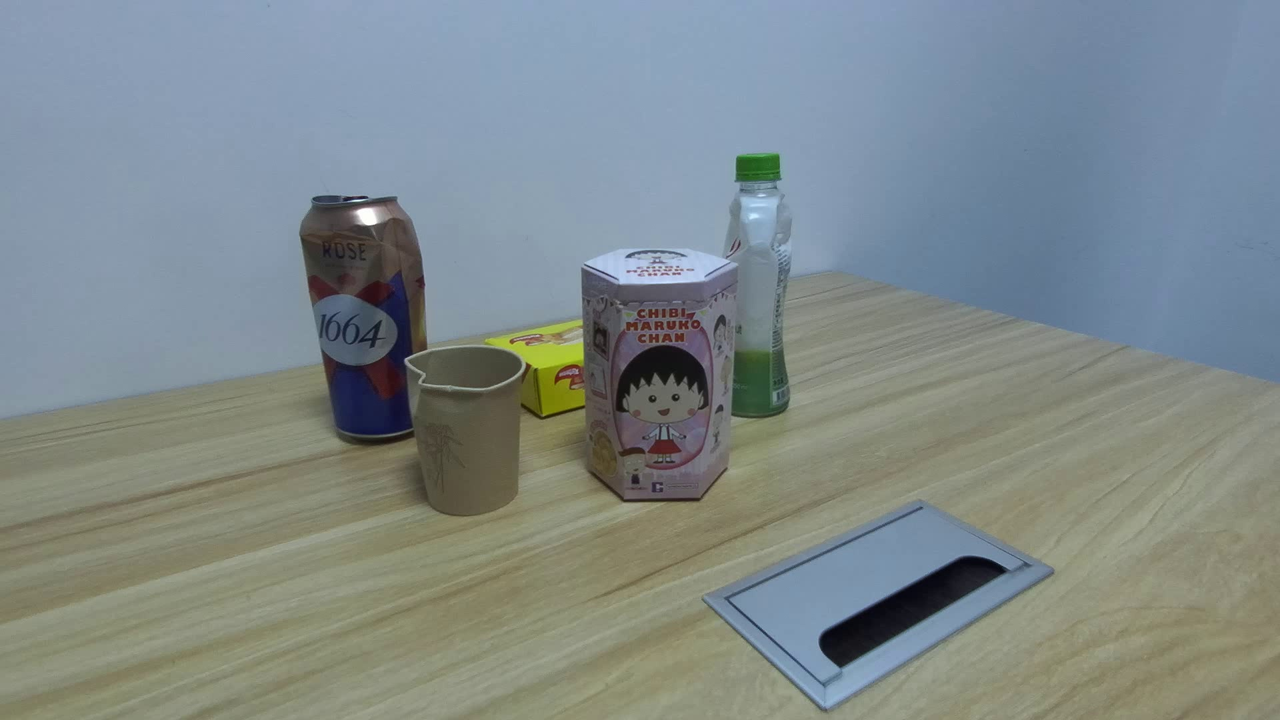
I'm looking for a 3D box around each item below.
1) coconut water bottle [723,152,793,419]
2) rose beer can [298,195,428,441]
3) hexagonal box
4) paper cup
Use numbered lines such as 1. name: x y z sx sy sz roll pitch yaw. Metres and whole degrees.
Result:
1. coconut water bottle: 0.085 -0.055 0.520 0.067 0.187 0.067 -1 18 1
2. rose beer can: -0.185 -0.030 0.491 0.075 0.167 0.065 11 22 32
3. hexagonal box: 0.012 0.008 0.427 0.091 0.136 0.084 -1 20 -2
4. paper cup: -0.101 0.041 0.416 0.073 0.081 0.069 2 19 5
